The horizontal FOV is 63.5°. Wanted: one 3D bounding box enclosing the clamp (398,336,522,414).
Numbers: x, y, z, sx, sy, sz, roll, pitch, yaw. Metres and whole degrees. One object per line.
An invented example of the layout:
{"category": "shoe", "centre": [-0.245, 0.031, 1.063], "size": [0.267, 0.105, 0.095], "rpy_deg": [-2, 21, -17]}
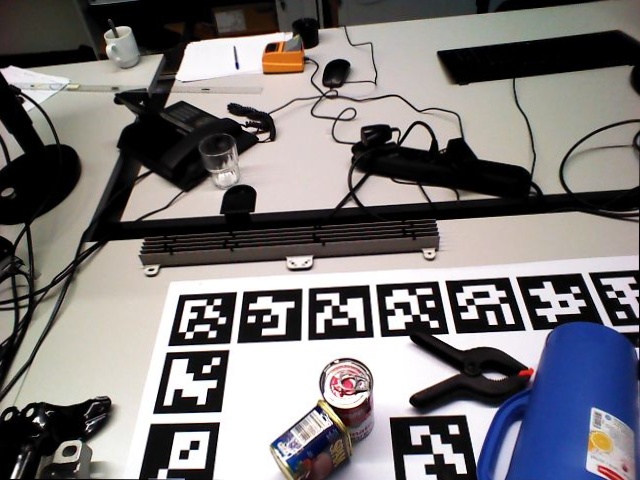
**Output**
{"category": "clamp", "centre": [0.197, 0.188, 0.726], "size": [0.165, 0.037, 0.121], "rpy_deg": [0, 43, 4]}

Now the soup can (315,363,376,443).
{"category": "soup can", "centre": [0.036, 0.214, 0.673], "size": [0.068, 0.102, 0.067], "rpy_deg": [-6, 49, 7]}

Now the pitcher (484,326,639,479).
{"category": "pitcher", "centre": [0.301, 0.220, 0.596], "size": [0.190, 0.133, 0.240], "rpy_deg": [-5, 35, 35]}

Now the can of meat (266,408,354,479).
{"category": "can of meat", "centre": [-0.012, 0.265, 0.628], "size": [0.083, 0.102, 0.058], "rpy_deg": [-34, 52, -16]}
